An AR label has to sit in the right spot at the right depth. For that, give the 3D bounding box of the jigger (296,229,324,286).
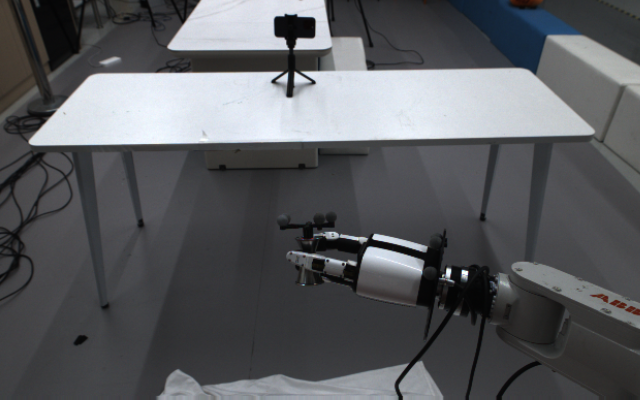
[{"bbox_3d":[-0.017,0.088,0.714,0.043,0.071,0.043,-2,3,0],"label":"jigger"}]
